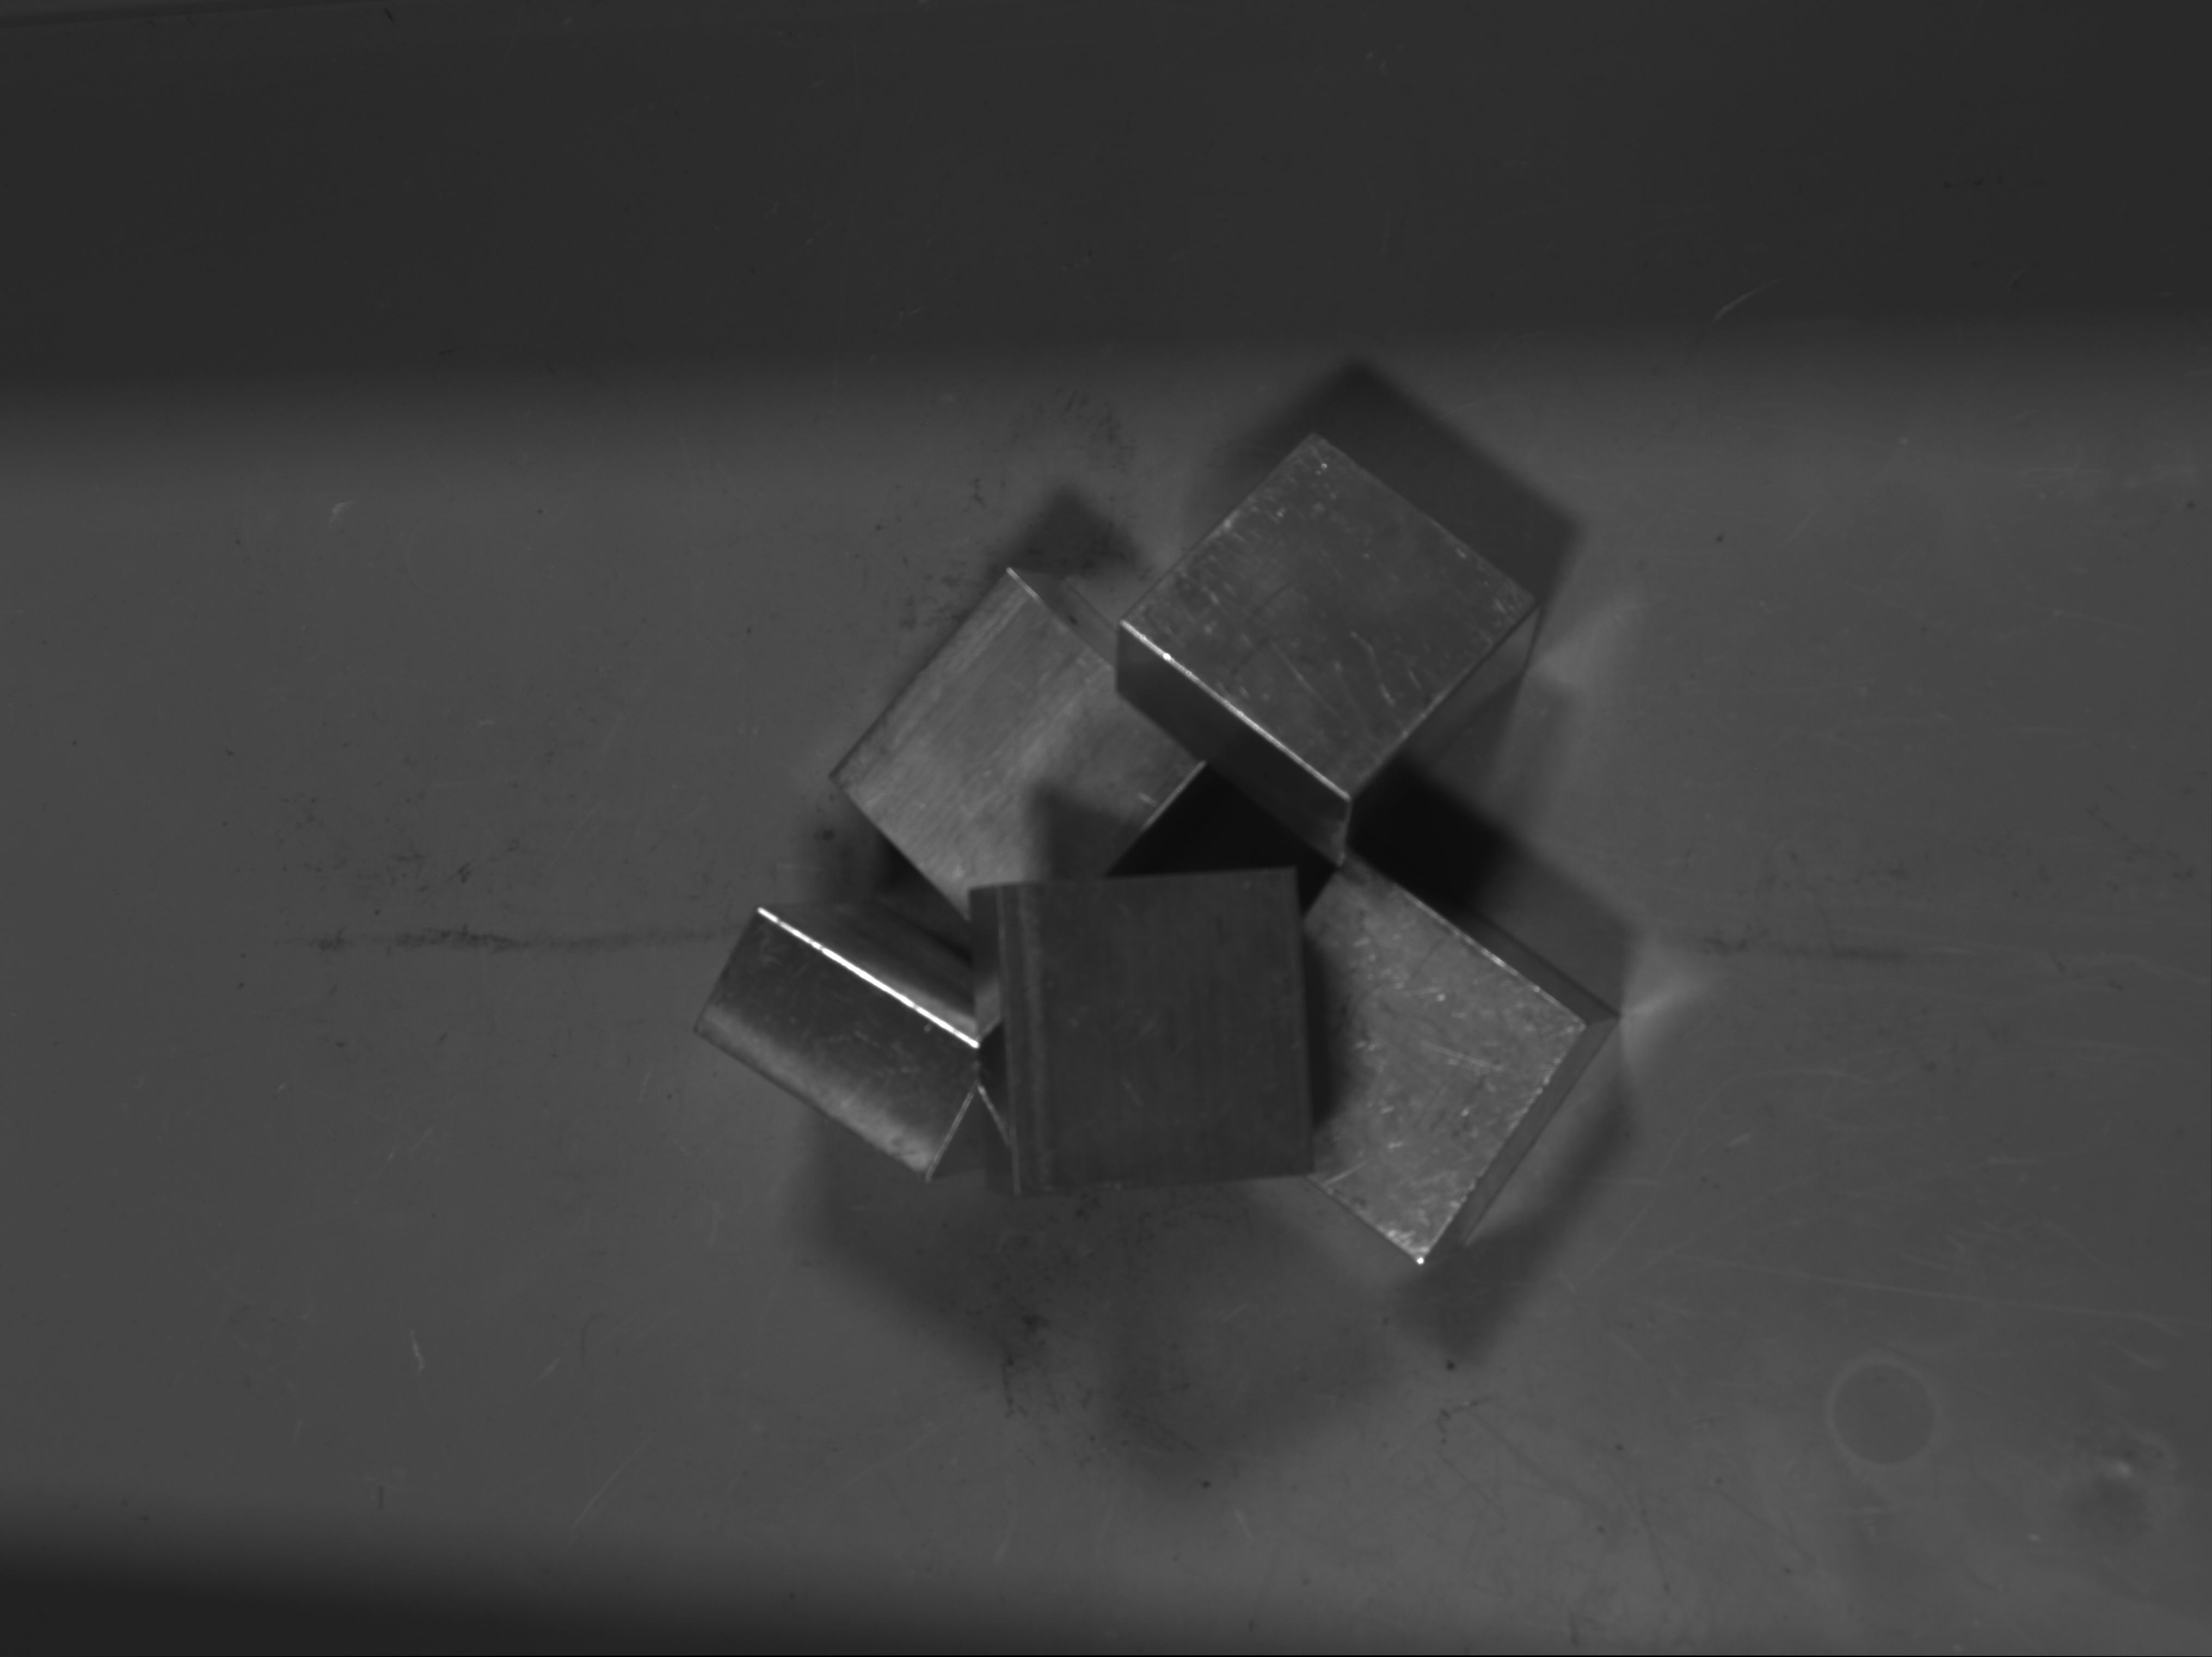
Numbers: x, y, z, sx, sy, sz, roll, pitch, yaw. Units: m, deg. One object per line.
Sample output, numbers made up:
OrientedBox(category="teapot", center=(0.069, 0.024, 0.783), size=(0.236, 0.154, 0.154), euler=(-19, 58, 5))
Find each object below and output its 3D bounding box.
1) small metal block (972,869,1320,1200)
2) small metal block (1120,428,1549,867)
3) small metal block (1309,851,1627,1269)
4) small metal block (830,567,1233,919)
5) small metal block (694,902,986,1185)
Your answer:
OrientedBox(category="small metal block", center=(0.006, 0.033, 0.602), size=(0.050, 0.025, 0.050), euler=(-3, 88, -13))
OrientedBox(category="small metal block", center=(0.038, -0.031, 0.618), size=(0.050, 0.025, 0.050), euler=(39, 69, 15))
OrientedBox(category="small metal block", center=(0.052, 0.039, 0.624), size=(0.050, 0.025, 0.050), euler=(37, 102, 16))
OrientedBox(category="small metal block", center=(-0.011, -0.010, 0.646), size=(0.050, 0.025, 0.050), euler=(45, 104, 14))
OrientedBox(category="small metal block", center=(-0.036, 0.037, 0.642), size=(0.050, 0.050, 0.025), euler=(31, 100, 17))
